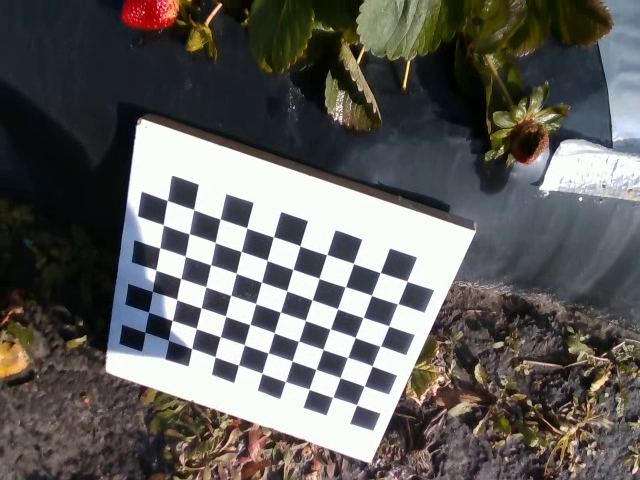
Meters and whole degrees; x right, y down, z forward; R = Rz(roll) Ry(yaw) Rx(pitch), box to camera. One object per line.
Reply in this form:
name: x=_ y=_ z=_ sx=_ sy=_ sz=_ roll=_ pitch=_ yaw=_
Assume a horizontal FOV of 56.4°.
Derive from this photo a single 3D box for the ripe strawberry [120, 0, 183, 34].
ripe strawberry: x=-0.138 y=-0.187 z=0.478 sx=0.053 sy=0.043 sz=0.038 roll=-36 pitch=17 yaw=-21
